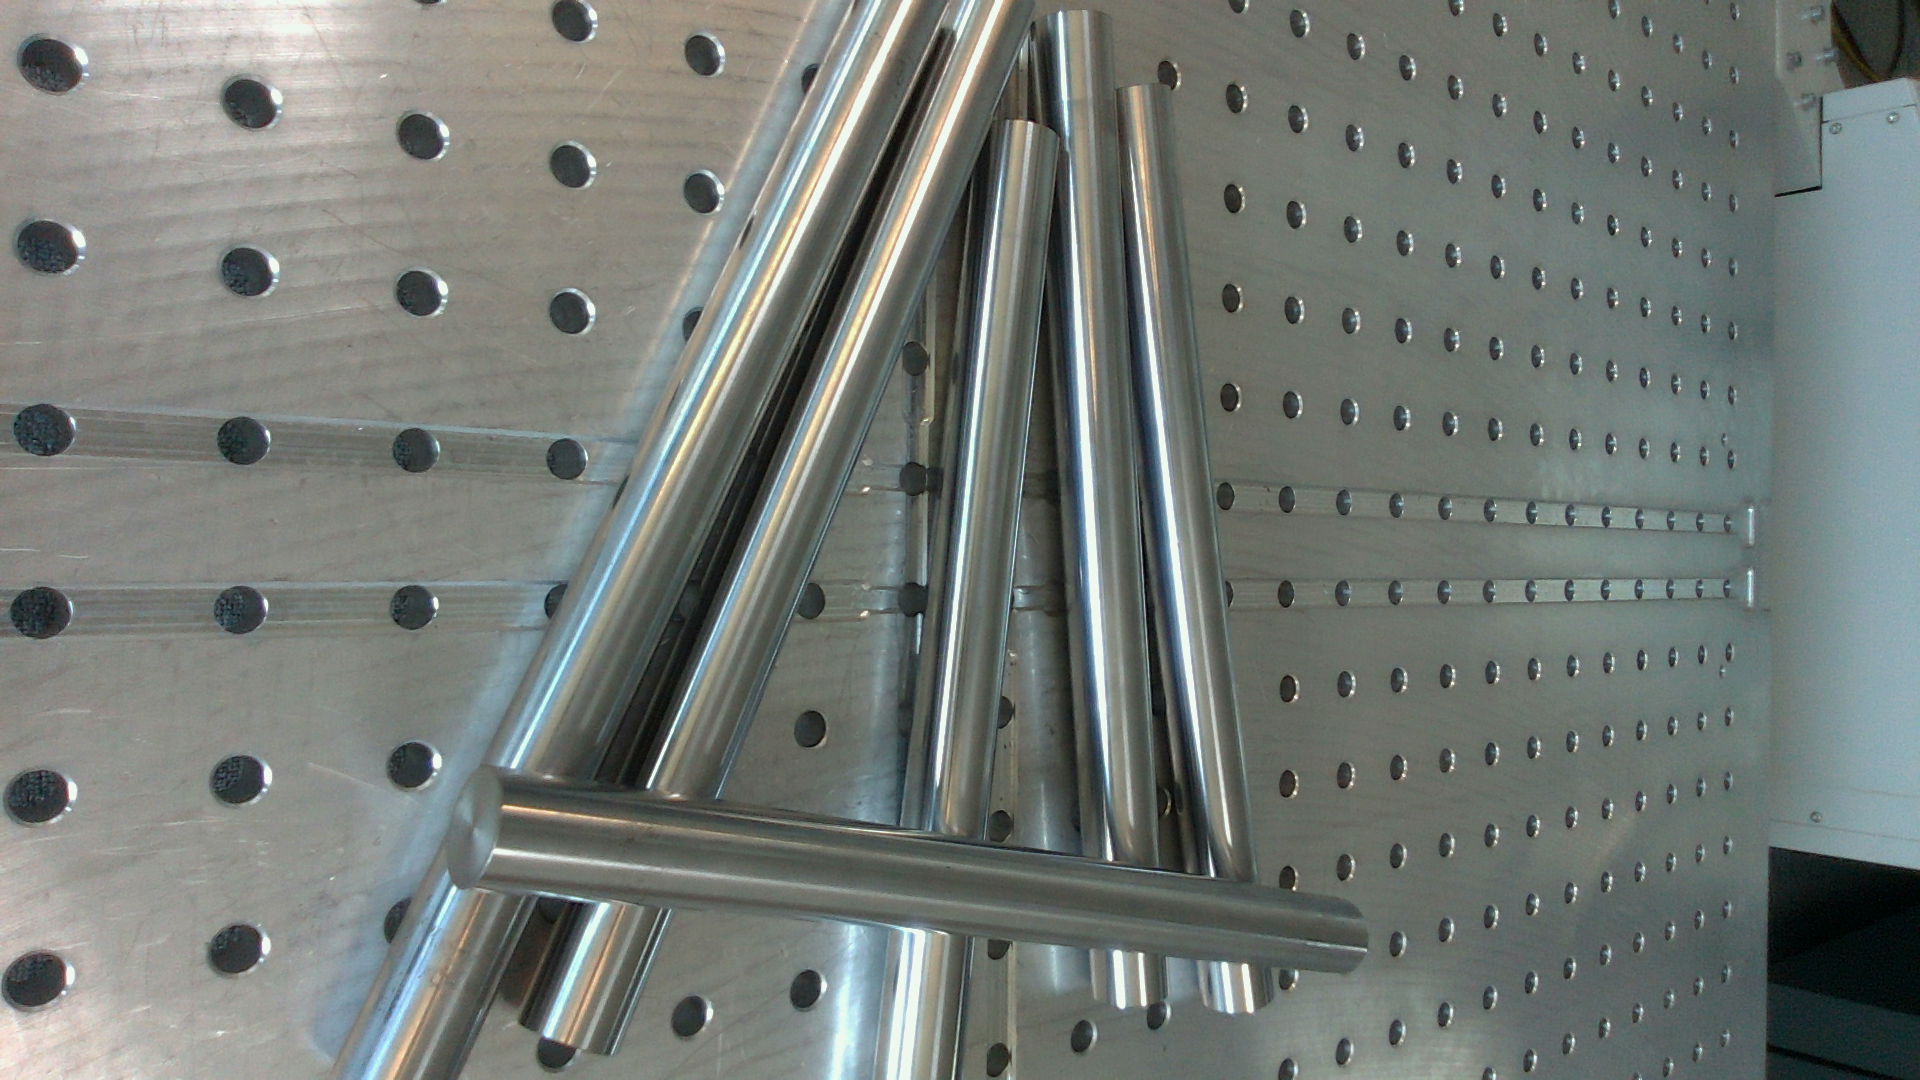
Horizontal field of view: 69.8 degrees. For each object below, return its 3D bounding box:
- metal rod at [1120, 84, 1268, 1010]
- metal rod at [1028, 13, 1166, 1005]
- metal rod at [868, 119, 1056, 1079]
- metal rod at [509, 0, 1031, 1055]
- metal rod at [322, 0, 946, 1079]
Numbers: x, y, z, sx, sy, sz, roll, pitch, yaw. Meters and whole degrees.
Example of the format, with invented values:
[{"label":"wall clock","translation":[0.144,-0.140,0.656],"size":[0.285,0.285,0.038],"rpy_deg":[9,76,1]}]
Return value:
[{"label":"metal rod","translation":[0.073,0.007,0.452],"size":[0.025,0.025,0.300],"rpy_deg":[-13,98,-39]},{"label":"metal rod","translation":[0.043,-0.007,0.427],"size":[0.025,0.025,0.300],"rpy_deg":[-7,94,-40]},{"label":"metal rod","translation":[0.000,0.030,0.391],"size":[0.025,0.025,0.300],"rpy_deg":[10,83,-39]},{"label":"metal rod","translation":[-0.041,-0.021,0.357],"size":[0.025,0.025,0.300],"rpy_deg":[32,70,-35]},{"label":"metal rod","translation":[-0.069,-0.017,0.333],"size":[0.025,0.025,0.300],"rpy_deg":[34,69,-35]}]
